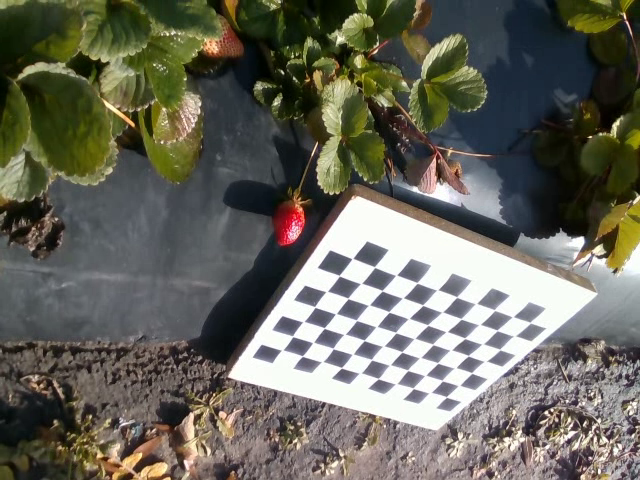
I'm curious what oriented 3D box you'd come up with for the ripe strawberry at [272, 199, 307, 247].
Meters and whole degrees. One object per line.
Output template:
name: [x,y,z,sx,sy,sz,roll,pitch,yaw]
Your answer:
ripe strawberry: [-0.025,-0.011,0.454,0.034,0.038,0.033,19,-16,-21]
